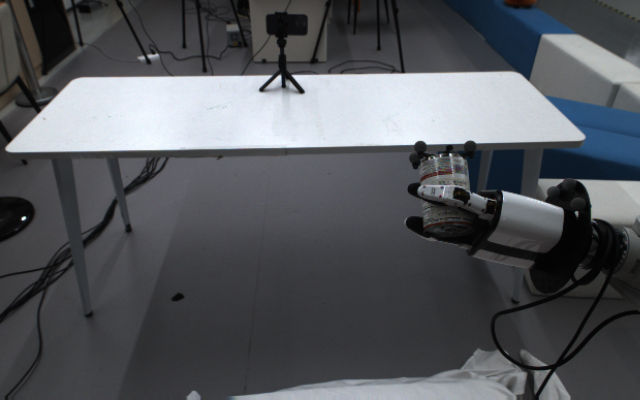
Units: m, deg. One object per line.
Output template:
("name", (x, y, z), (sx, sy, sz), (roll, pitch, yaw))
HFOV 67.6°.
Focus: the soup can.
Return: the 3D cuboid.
("soup can", (0.175, -0.006, 0.667), (0.067, 0.067, 0.101), (1, 72, -2))
